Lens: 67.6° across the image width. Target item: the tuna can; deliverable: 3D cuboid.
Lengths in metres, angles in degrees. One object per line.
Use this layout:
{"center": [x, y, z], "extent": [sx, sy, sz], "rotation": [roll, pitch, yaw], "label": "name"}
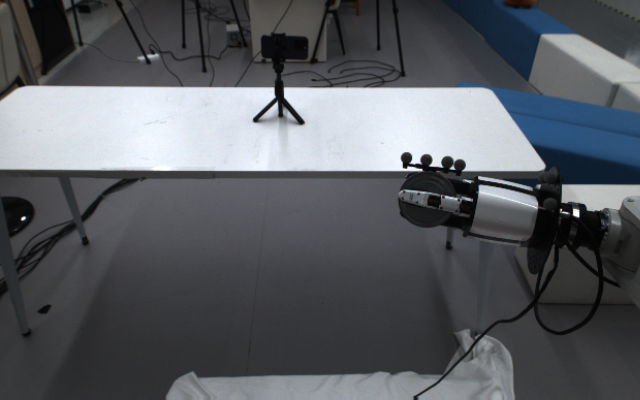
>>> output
{"center": [0.164, -0.005, 0.739], "extent": [0.085, 0.085, 0.034], "rotation": [11, 2, 12], "label": "tuna can"}
